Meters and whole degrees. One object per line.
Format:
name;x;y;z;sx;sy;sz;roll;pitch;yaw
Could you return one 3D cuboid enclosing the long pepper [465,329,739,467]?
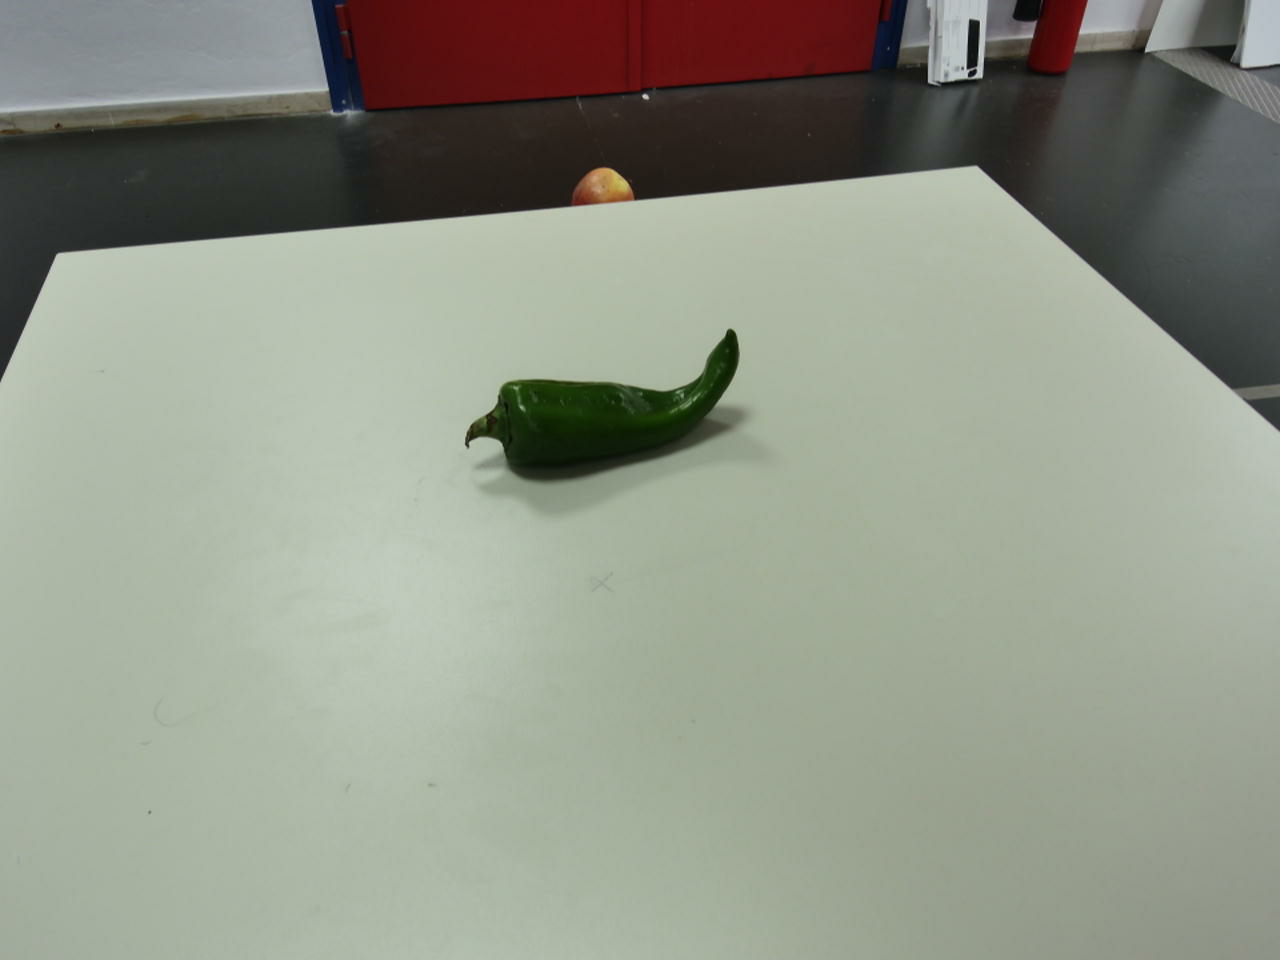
long pepper;-0.020;-0.047;0.604;0.175;0.065;0.058;-9;40;-11
